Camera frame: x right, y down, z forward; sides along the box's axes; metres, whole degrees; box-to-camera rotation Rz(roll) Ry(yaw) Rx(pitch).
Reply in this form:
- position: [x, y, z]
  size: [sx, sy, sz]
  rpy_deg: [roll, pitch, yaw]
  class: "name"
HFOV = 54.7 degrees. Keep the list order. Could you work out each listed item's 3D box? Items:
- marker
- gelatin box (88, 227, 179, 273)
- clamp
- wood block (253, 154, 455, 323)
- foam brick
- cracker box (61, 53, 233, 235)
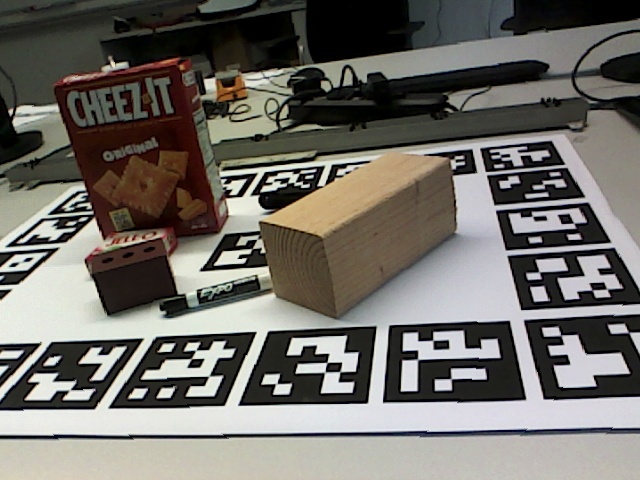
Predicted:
- position: [-0.120, 0.061, 0.642]
  size: [0.121, 0.019, 0.020]
  rpy_deg: [-15, 29, -4]
  class: "marker"
- position: [-0.230, 0.016, 0.769]
  size: [0.089, 0.030, 0.073]
  rpy_deg: [-6, 30, 12]
  class: "gelatin box"
- position: [0.032, -0.061, 0.796]
  size: [0.202, 0.036, 0.166]
  rpy_deg: [-20, 29, -14]
  class: "clamp"
- position: [0.042, -0.011, 0.647]
  size: [0.205, 0.090, 0.090]
  rpy_deg: [-30, 30, -36]
  class: "wood block"
- position: [-0.205, 0.041, 0.683]
  size: [0.078, 0.051, 0.053]
  rpy_deg: [-17, 29, -9]
  class: "foam brick"
- position: [-0.218, -0.120, 0.807]
  size: [0.164, 0.213, 0.072]
  rpy_deg: [-5, 27, 9]
  class: "cracker box"
